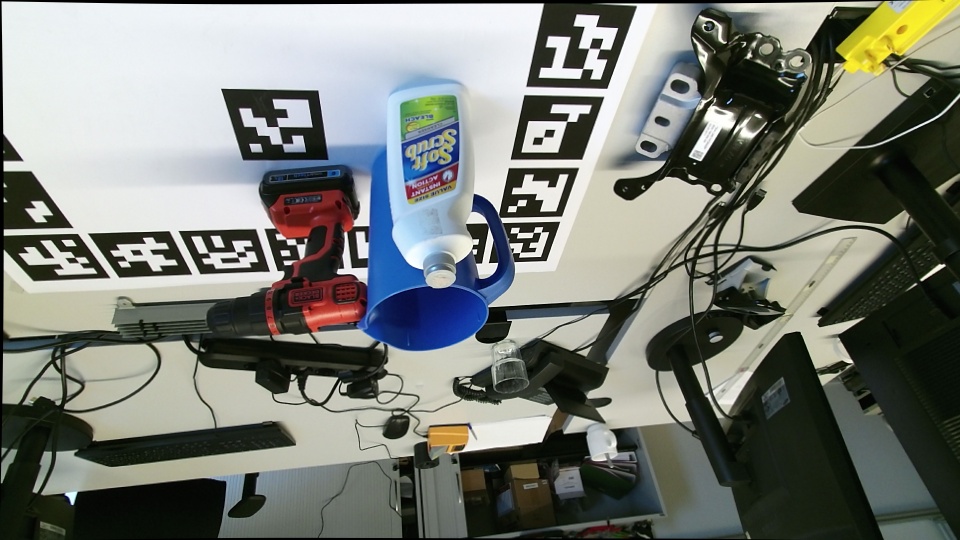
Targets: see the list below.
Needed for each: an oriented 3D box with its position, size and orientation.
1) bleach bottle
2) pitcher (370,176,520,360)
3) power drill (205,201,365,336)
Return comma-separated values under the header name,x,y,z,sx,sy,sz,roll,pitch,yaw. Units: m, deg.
name,x,y,z,sx,sy,sz,roll,pitch,yaw
bleach bottle,-0.033,-0.064,0.565,0.103,0.249,0.068,-9,142,-4
pitcher,-0.057,-0.015,0.654,0.189,0.241,0.133,-20,140,11
power drill,-0.226,-0.001,0.645,0.185,0.186,0.057,-3,139,-2
